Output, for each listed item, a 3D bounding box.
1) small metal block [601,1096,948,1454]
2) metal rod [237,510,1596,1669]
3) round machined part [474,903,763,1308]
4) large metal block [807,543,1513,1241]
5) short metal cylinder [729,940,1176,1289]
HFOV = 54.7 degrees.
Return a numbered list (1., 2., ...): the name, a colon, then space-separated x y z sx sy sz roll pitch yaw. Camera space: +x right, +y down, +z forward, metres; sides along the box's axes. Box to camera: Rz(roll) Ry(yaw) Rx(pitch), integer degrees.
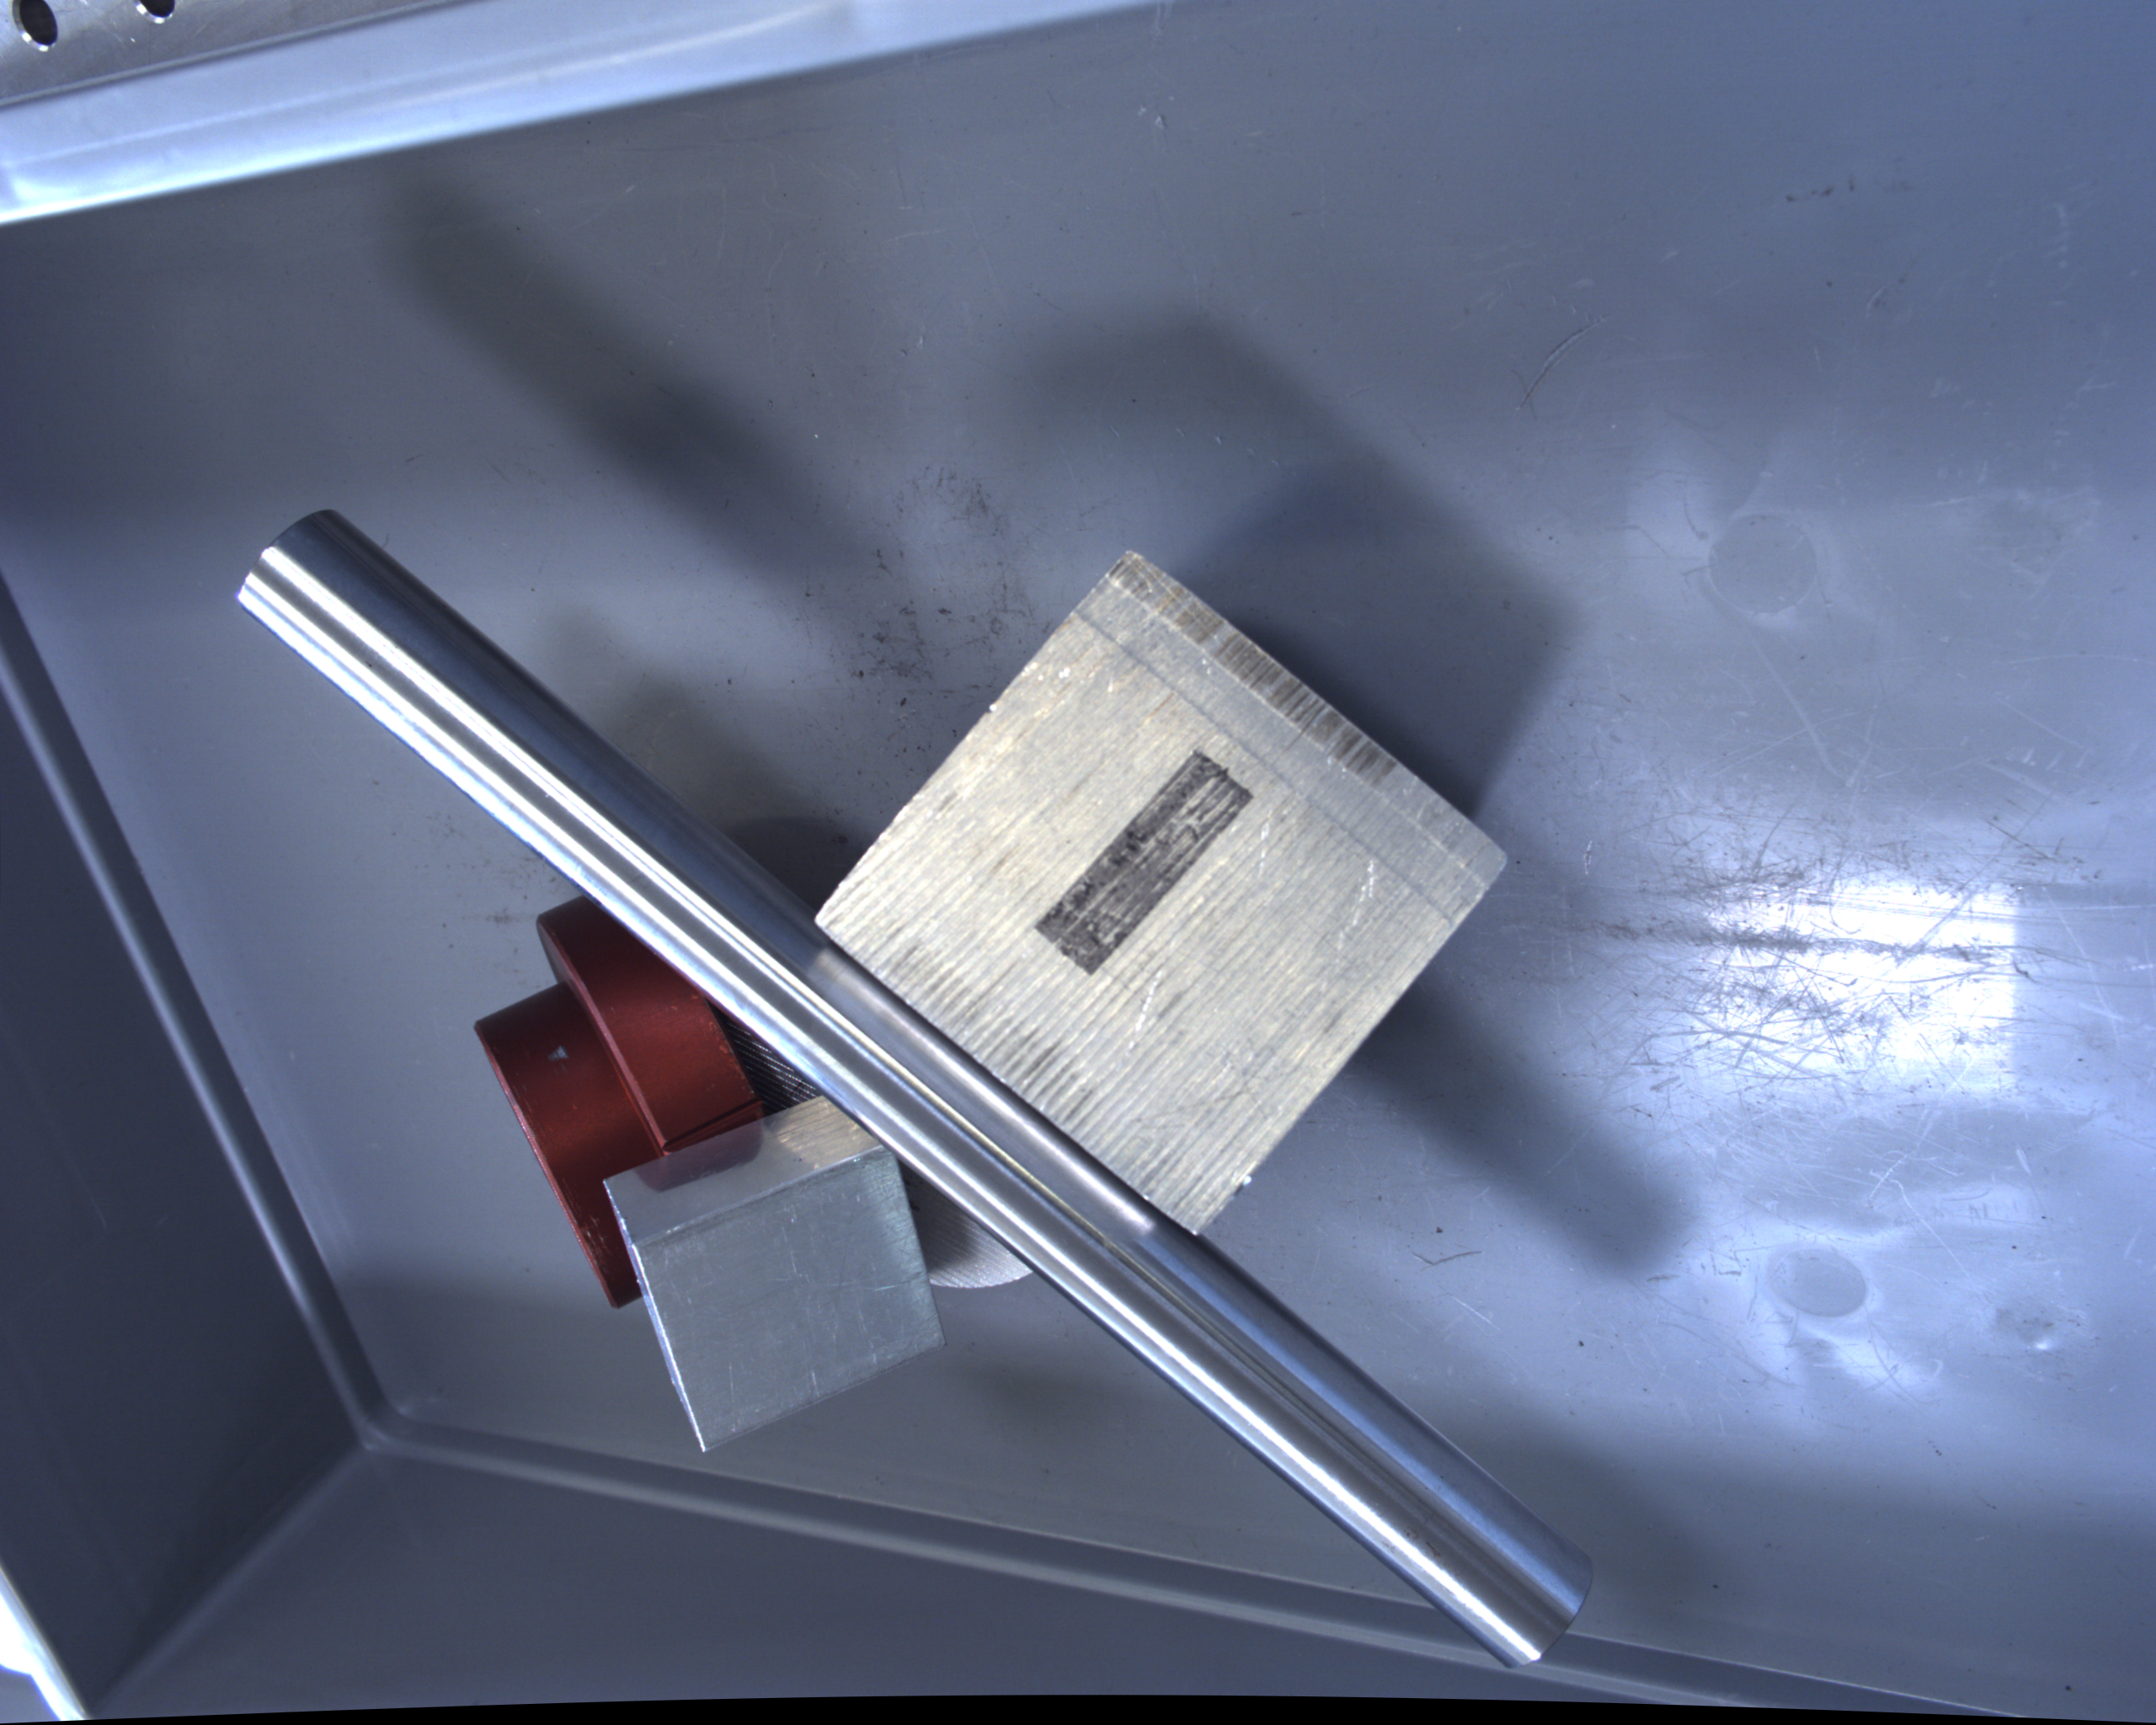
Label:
1. small metal block: -0.058 0.077 0.401 0.025 0.050 0.050 40 146 57
2. metal rod: -0.030 0.041 0.382 0.300 0.025 0.025 40 129 1
3. round machined part: -0.095 0.056 0.447 0.098 0.042 0.098 54 160 30
4. large metal block: 0.013 0.006 0.359 0.080 0.050 0.080 39 86 1
5. short metal cylinder: -0.025 0.040 0.428 0.080 0.050 0.079 13 124 21
